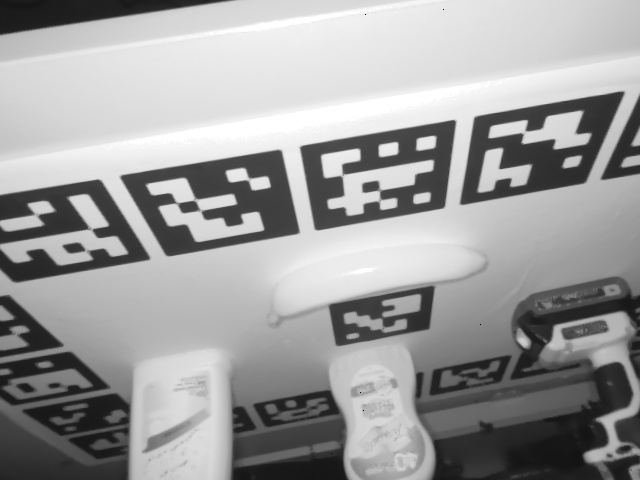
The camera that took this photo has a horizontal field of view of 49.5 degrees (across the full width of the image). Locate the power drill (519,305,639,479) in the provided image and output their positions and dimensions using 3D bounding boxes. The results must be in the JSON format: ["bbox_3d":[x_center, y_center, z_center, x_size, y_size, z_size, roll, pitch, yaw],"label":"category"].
[{"bbox_3d":[0.256,0.162,0.642,0.185,0.188,0.057,-14,143,-1],"label":"power drill"}]

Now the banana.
[{"bbox_3d":[0.048,0.014,0.557,0.198,0.039,0.074,-14,141,-1],"label":"banana"}]

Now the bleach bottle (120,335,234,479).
[{"bbox_3d":[-0.121,0.208,0.606,0.103,0.252,0.067,-3,142,-9],"label":"bleach bottle"}]

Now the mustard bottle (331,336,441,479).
[{"bbox_3d":[0.068,0.193,0.687,0.096,0.192,0.058,-12,143,5],"label":"mustard bottle"}]
